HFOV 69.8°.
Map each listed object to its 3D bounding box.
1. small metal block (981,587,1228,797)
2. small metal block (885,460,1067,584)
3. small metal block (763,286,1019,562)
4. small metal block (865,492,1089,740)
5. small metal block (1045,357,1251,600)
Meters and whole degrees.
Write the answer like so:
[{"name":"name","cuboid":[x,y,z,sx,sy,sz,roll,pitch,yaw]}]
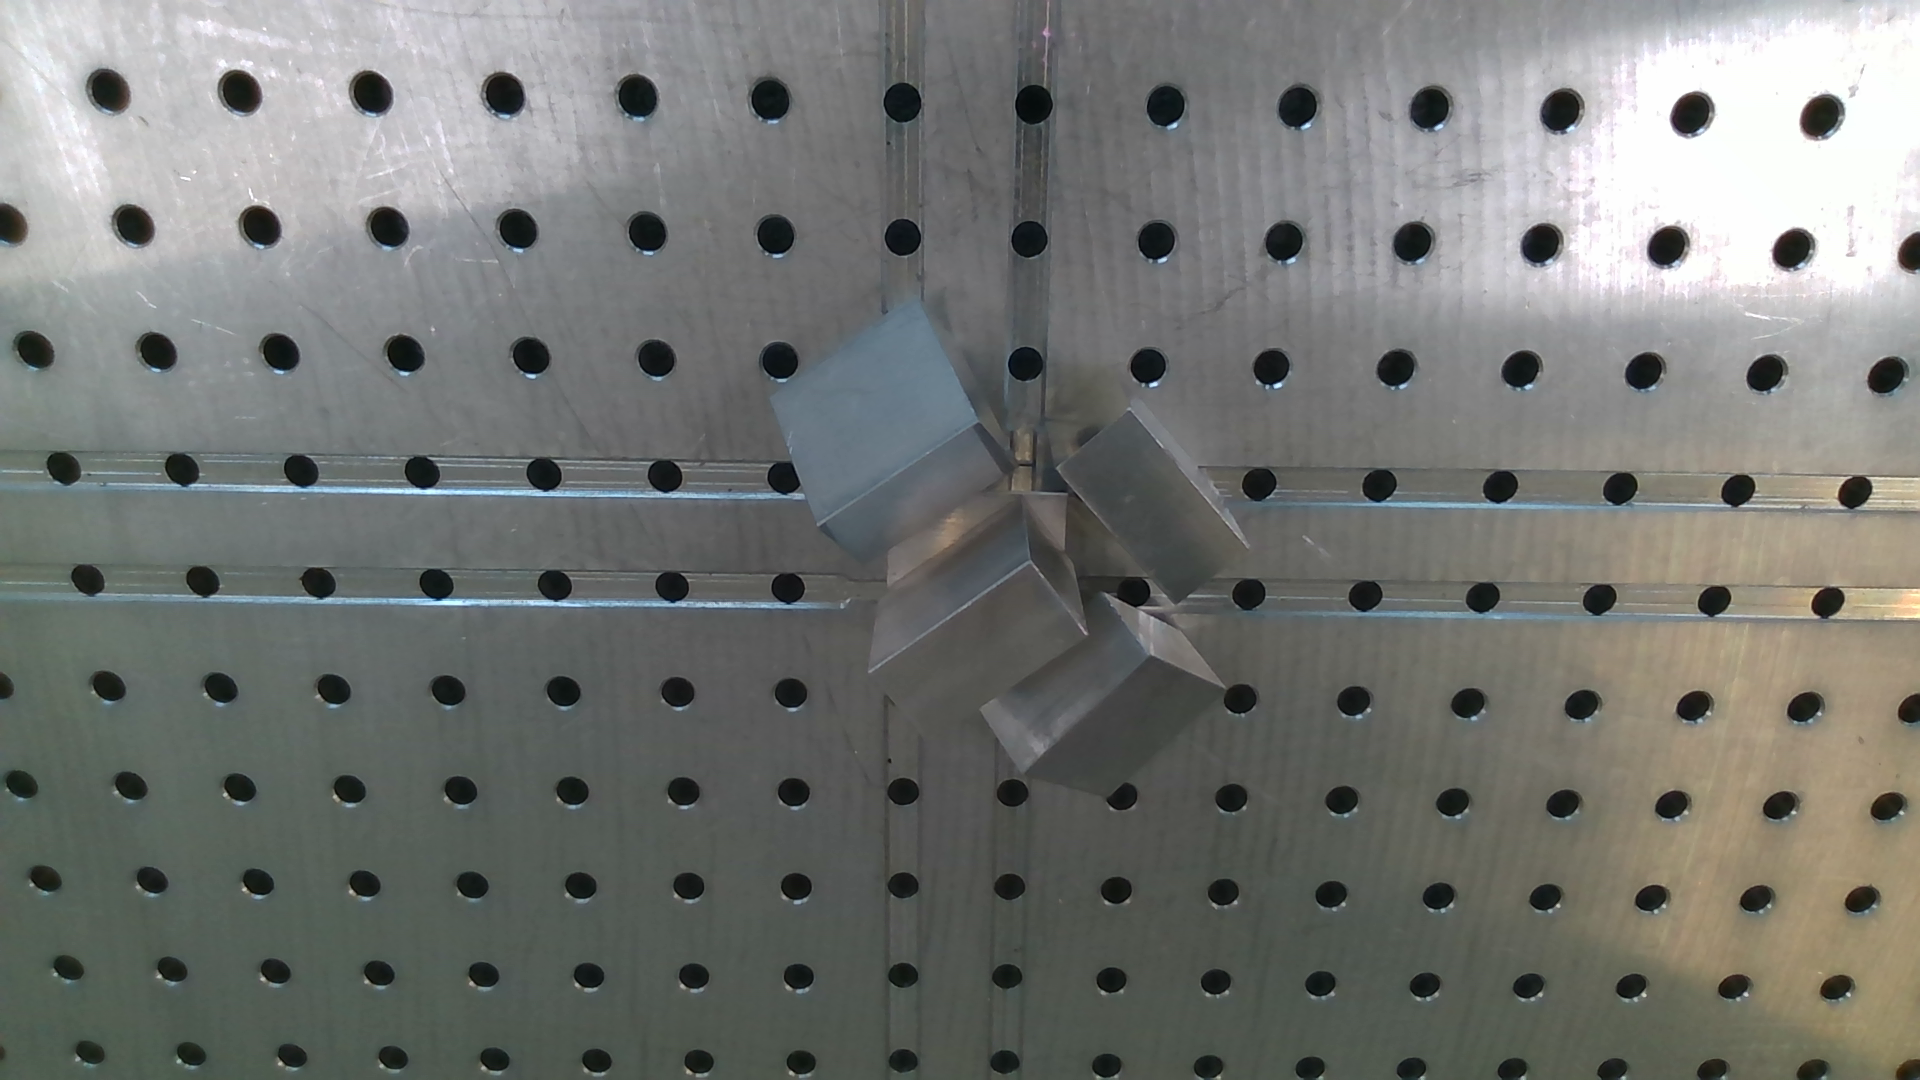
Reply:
[{"name":"small metal block","cuboid":[0.042,0.045,0.398,0.050,0.025,0.050,-46,144,14]},{"name":"small metal block","cuboid":[0.004,0.005,0.397,0.050,0.025,0.050,0,111,0]},{"name":"small metal block","cuboid":[-0.019,-0.031,0.368,0.050,0.050,0.025,-32,144,11]},{"name":"small metal block","cuboid":[0.004,0.018,0.362,0.050,0.050,0.025,-34,107,12]},{"name":"small metal block","cuboid":[0.050,-0.018,0.376,0.025,0.050,0.050,-39,105,13]}]
